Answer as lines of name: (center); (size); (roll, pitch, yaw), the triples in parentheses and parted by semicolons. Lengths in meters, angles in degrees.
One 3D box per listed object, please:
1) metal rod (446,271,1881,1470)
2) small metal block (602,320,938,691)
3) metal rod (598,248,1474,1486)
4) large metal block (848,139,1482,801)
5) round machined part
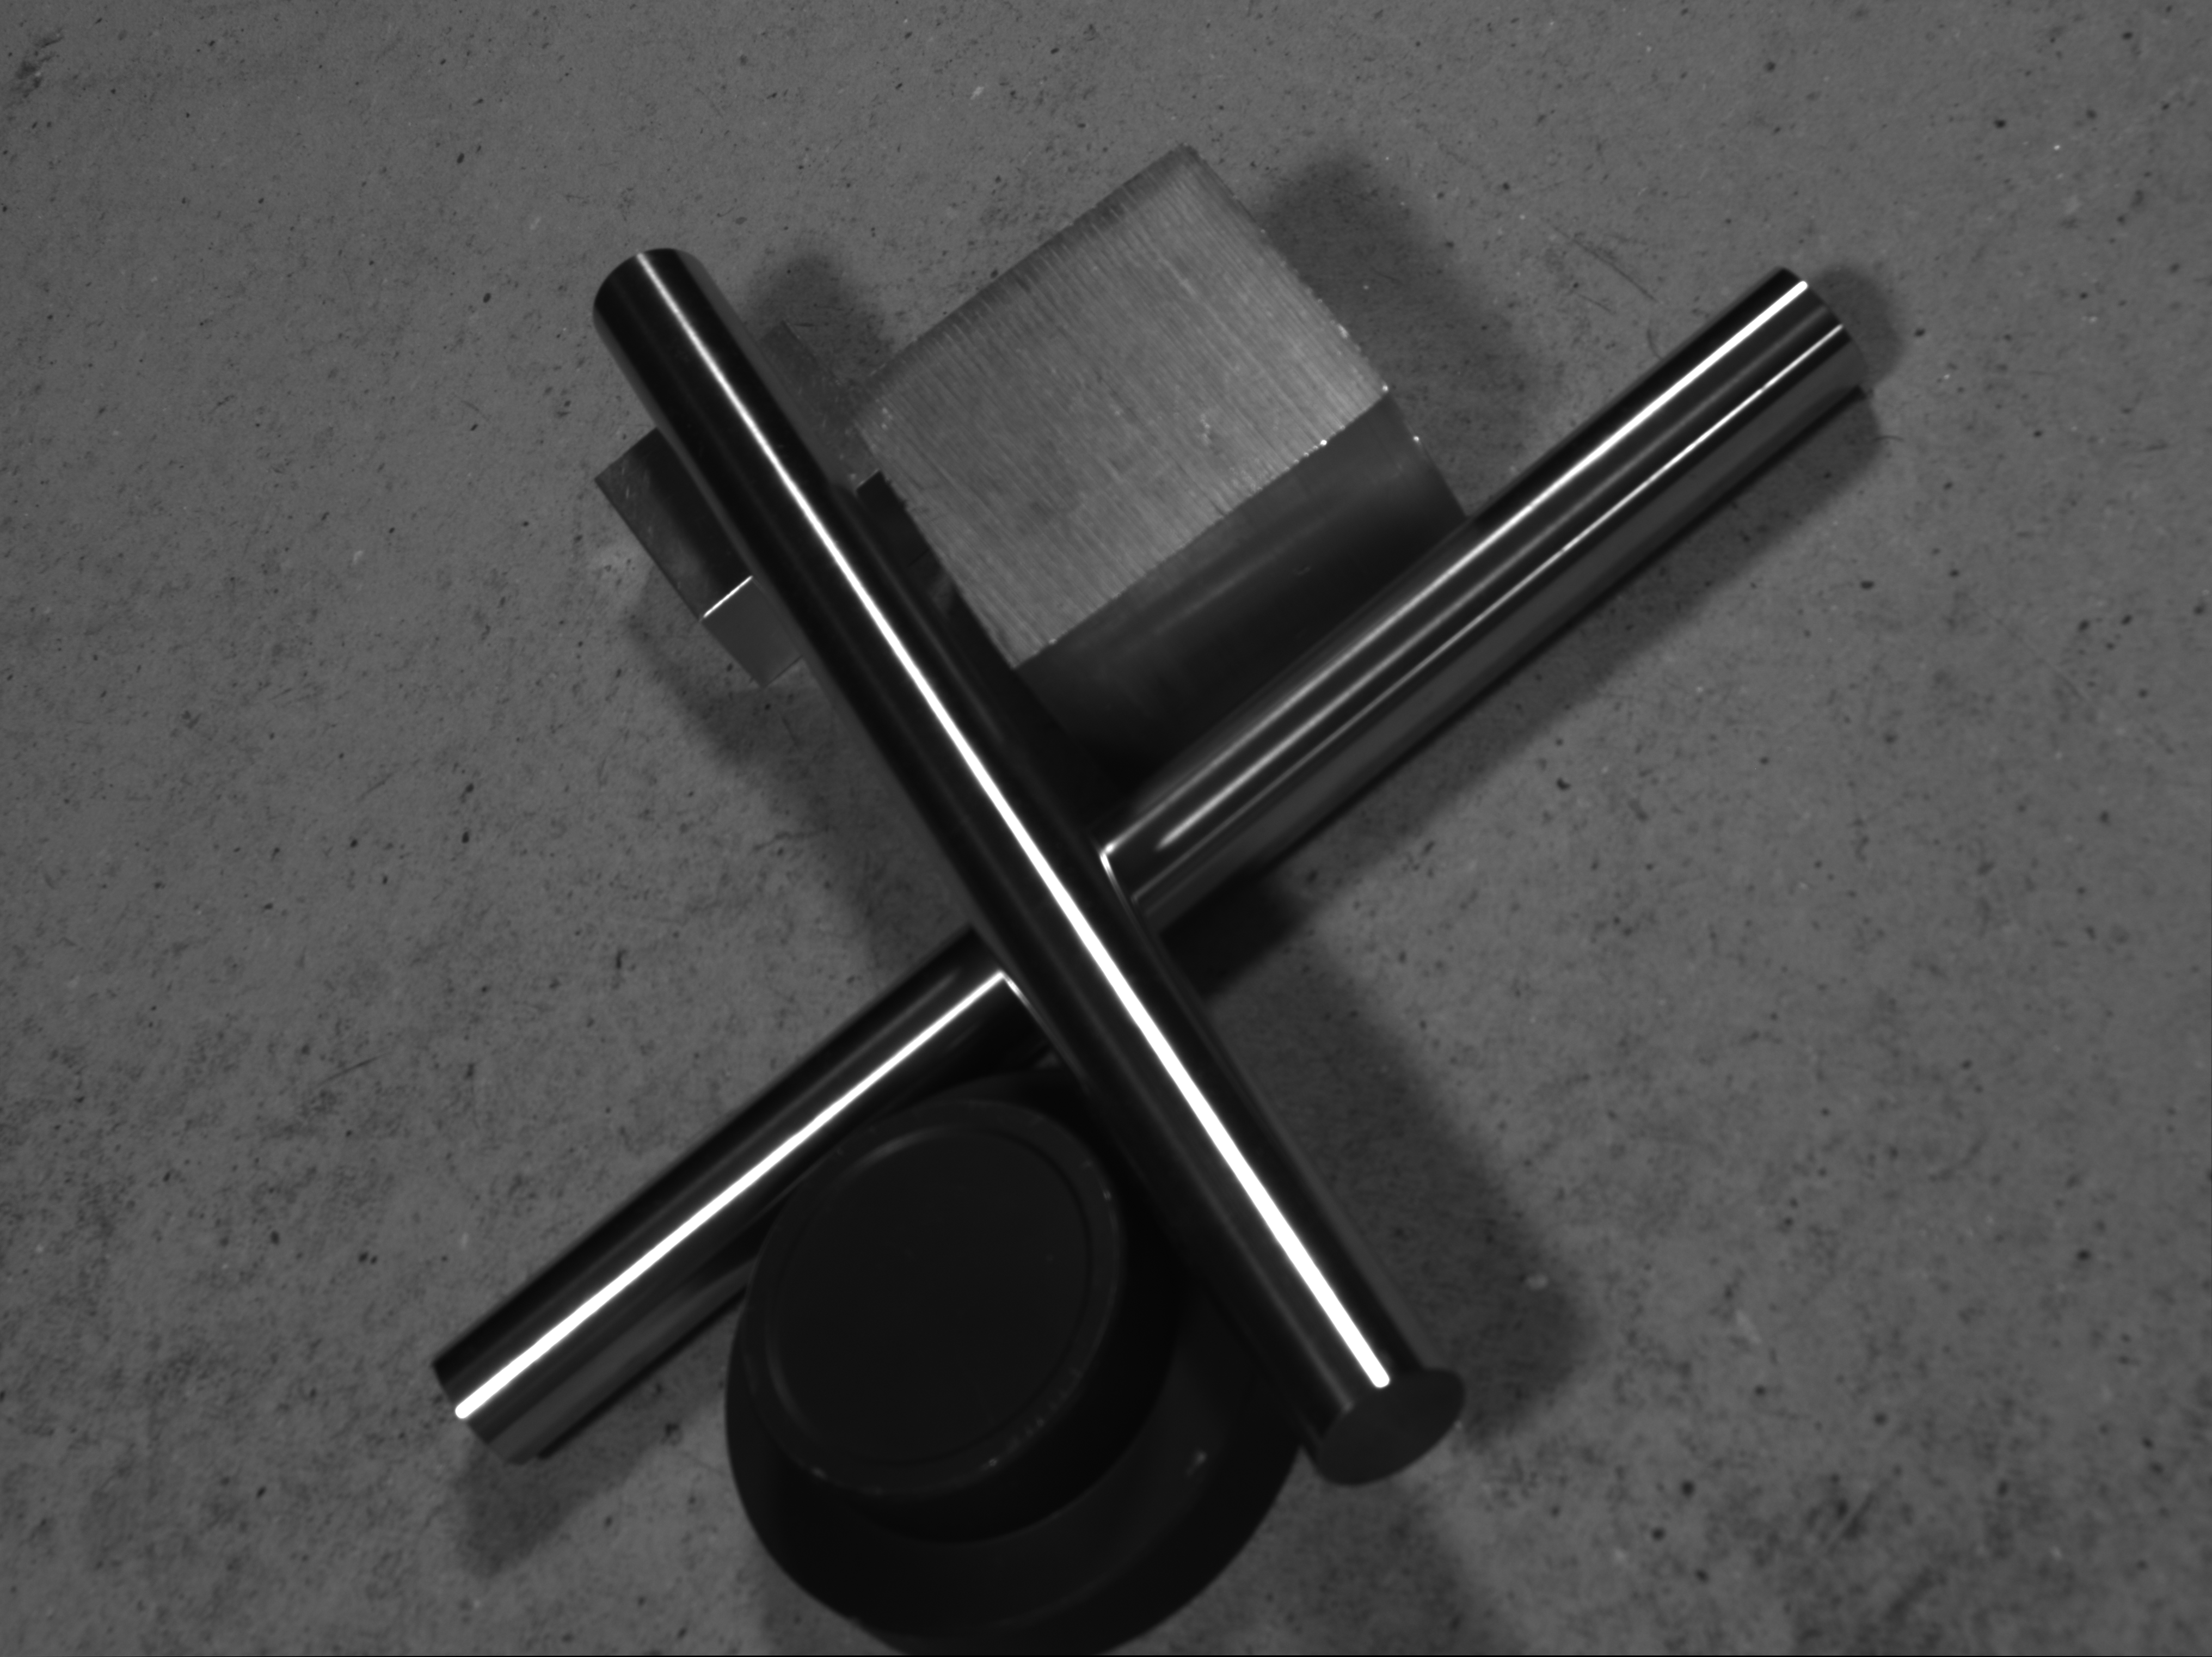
metal rod: (0.009, 0.008, 0.637); (0.300, 0.025, 0.025); (-39, 51, 2)
small metal block: (-0.063, -0.064, 0.720); (0.050, 0.025, 0.050); (-40, 51, 1)
metal rod: (-0.023, -0.008, 0.629); (0.025, 0.025, 0.299); (-37, 51, 3)
large metal block: (0.012, -0.064, 0.663); (0.080, 0.050, 0.080); (-36, 51, 4)
round machined part: (-0.018, 0.083, 0.591); (0.098, 0.042, 0.098); (-13, 56, 21)
